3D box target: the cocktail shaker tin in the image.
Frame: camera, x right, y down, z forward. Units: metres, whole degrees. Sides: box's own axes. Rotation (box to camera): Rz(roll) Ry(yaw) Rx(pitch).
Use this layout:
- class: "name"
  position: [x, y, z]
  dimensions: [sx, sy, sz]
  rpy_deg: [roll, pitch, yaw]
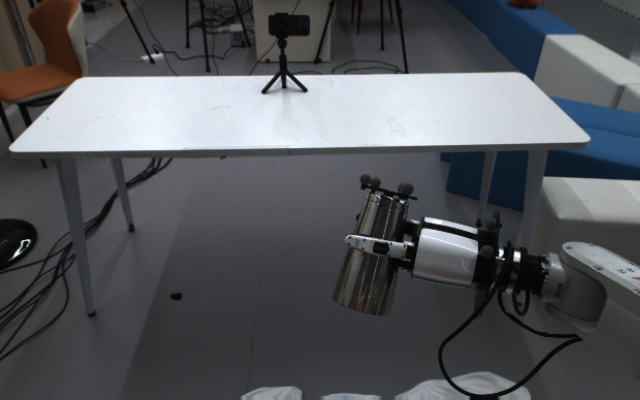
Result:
- class: "cocktail shaker tin"
  position: [0.082, 0.077, 0.738]
  dimensions: [0.093, 0.170, 0.093]
  rpy_deg: [14, 2, -1]
